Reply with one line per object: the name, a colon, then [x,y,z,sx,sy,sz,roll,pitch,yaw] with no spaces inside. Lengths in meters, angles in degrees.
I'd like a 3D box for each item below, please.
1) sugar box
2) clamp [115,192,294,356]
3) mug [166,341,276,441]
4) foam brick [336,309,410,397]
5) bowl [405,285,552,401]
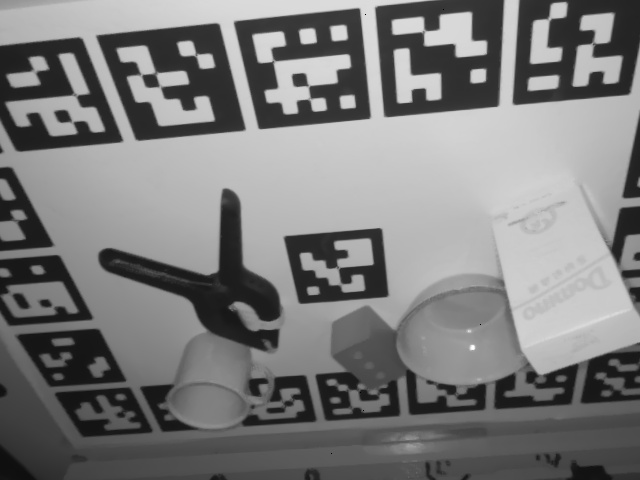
sugar box: [0.227,0.026,0.619,0.092,0.178,0.045,-25,120,21]
clamp: [-0.089,0.059,0.727,0.164,0.037,0.203,-25,121,16]
mug: [-0.106,0.174,0.790,0.118,0.082,0.092,18,125,-8]
foam brick: [0.060,0.127,0.781,0.052,0.052,0.078,-28,120,20]
bowl: [0.172,0.101,0.750,0.162,0.055,0.160,1,127,2]
